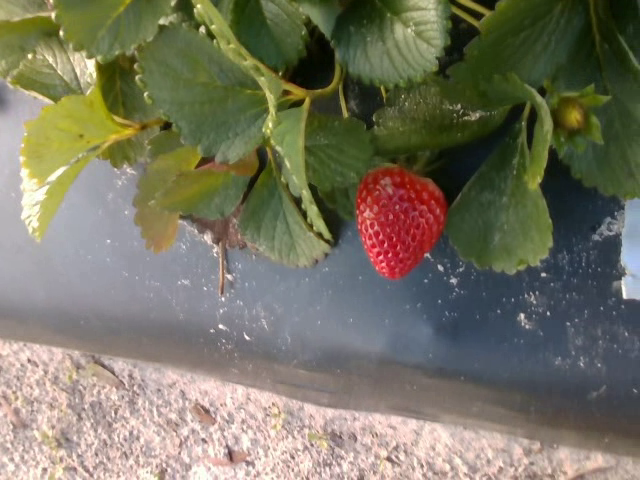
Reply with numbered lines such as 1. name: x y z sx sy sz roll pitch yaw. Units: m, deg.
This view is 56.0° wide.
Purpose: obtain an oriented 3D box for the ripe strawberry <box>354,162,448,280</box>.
1. ripe strawberry: 0.015 -0.003 0.113 0.018 0.023 0.020 9 5 41
